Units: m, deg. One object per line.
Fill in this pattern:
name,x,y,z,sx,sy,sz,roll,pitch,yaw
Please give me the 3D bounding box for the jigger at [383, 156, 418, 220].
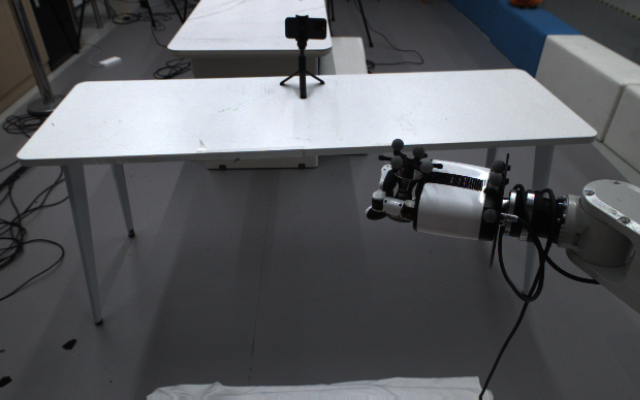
jigger,0.122,-0.007,0.699,0.043,0.071,0.043,6,26,-3
